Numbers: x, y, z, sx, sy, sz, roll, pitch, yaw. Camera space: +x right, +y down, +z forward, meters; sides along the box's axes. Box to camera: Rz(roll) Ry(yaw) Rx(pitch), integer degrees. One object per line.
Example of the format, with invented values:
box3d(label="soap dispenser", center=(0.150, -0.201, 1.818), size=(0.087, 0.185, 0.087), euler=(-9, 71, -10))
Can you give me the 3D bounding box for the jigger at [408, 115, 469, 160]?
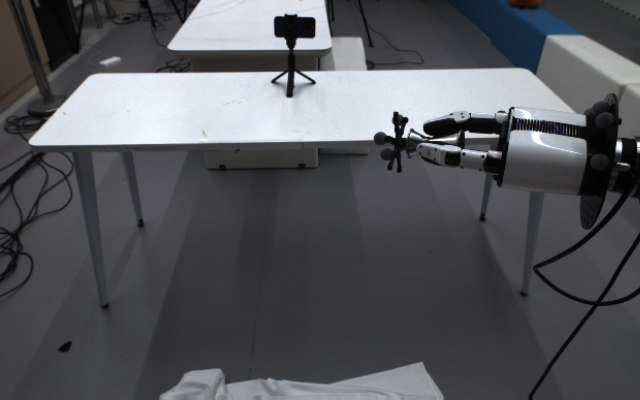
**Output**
box3d(label="jigger", center=(0.159, -0.079, 0.639), size=(0.071, 0.043, 0.043), euler=(6, 33, 27))
